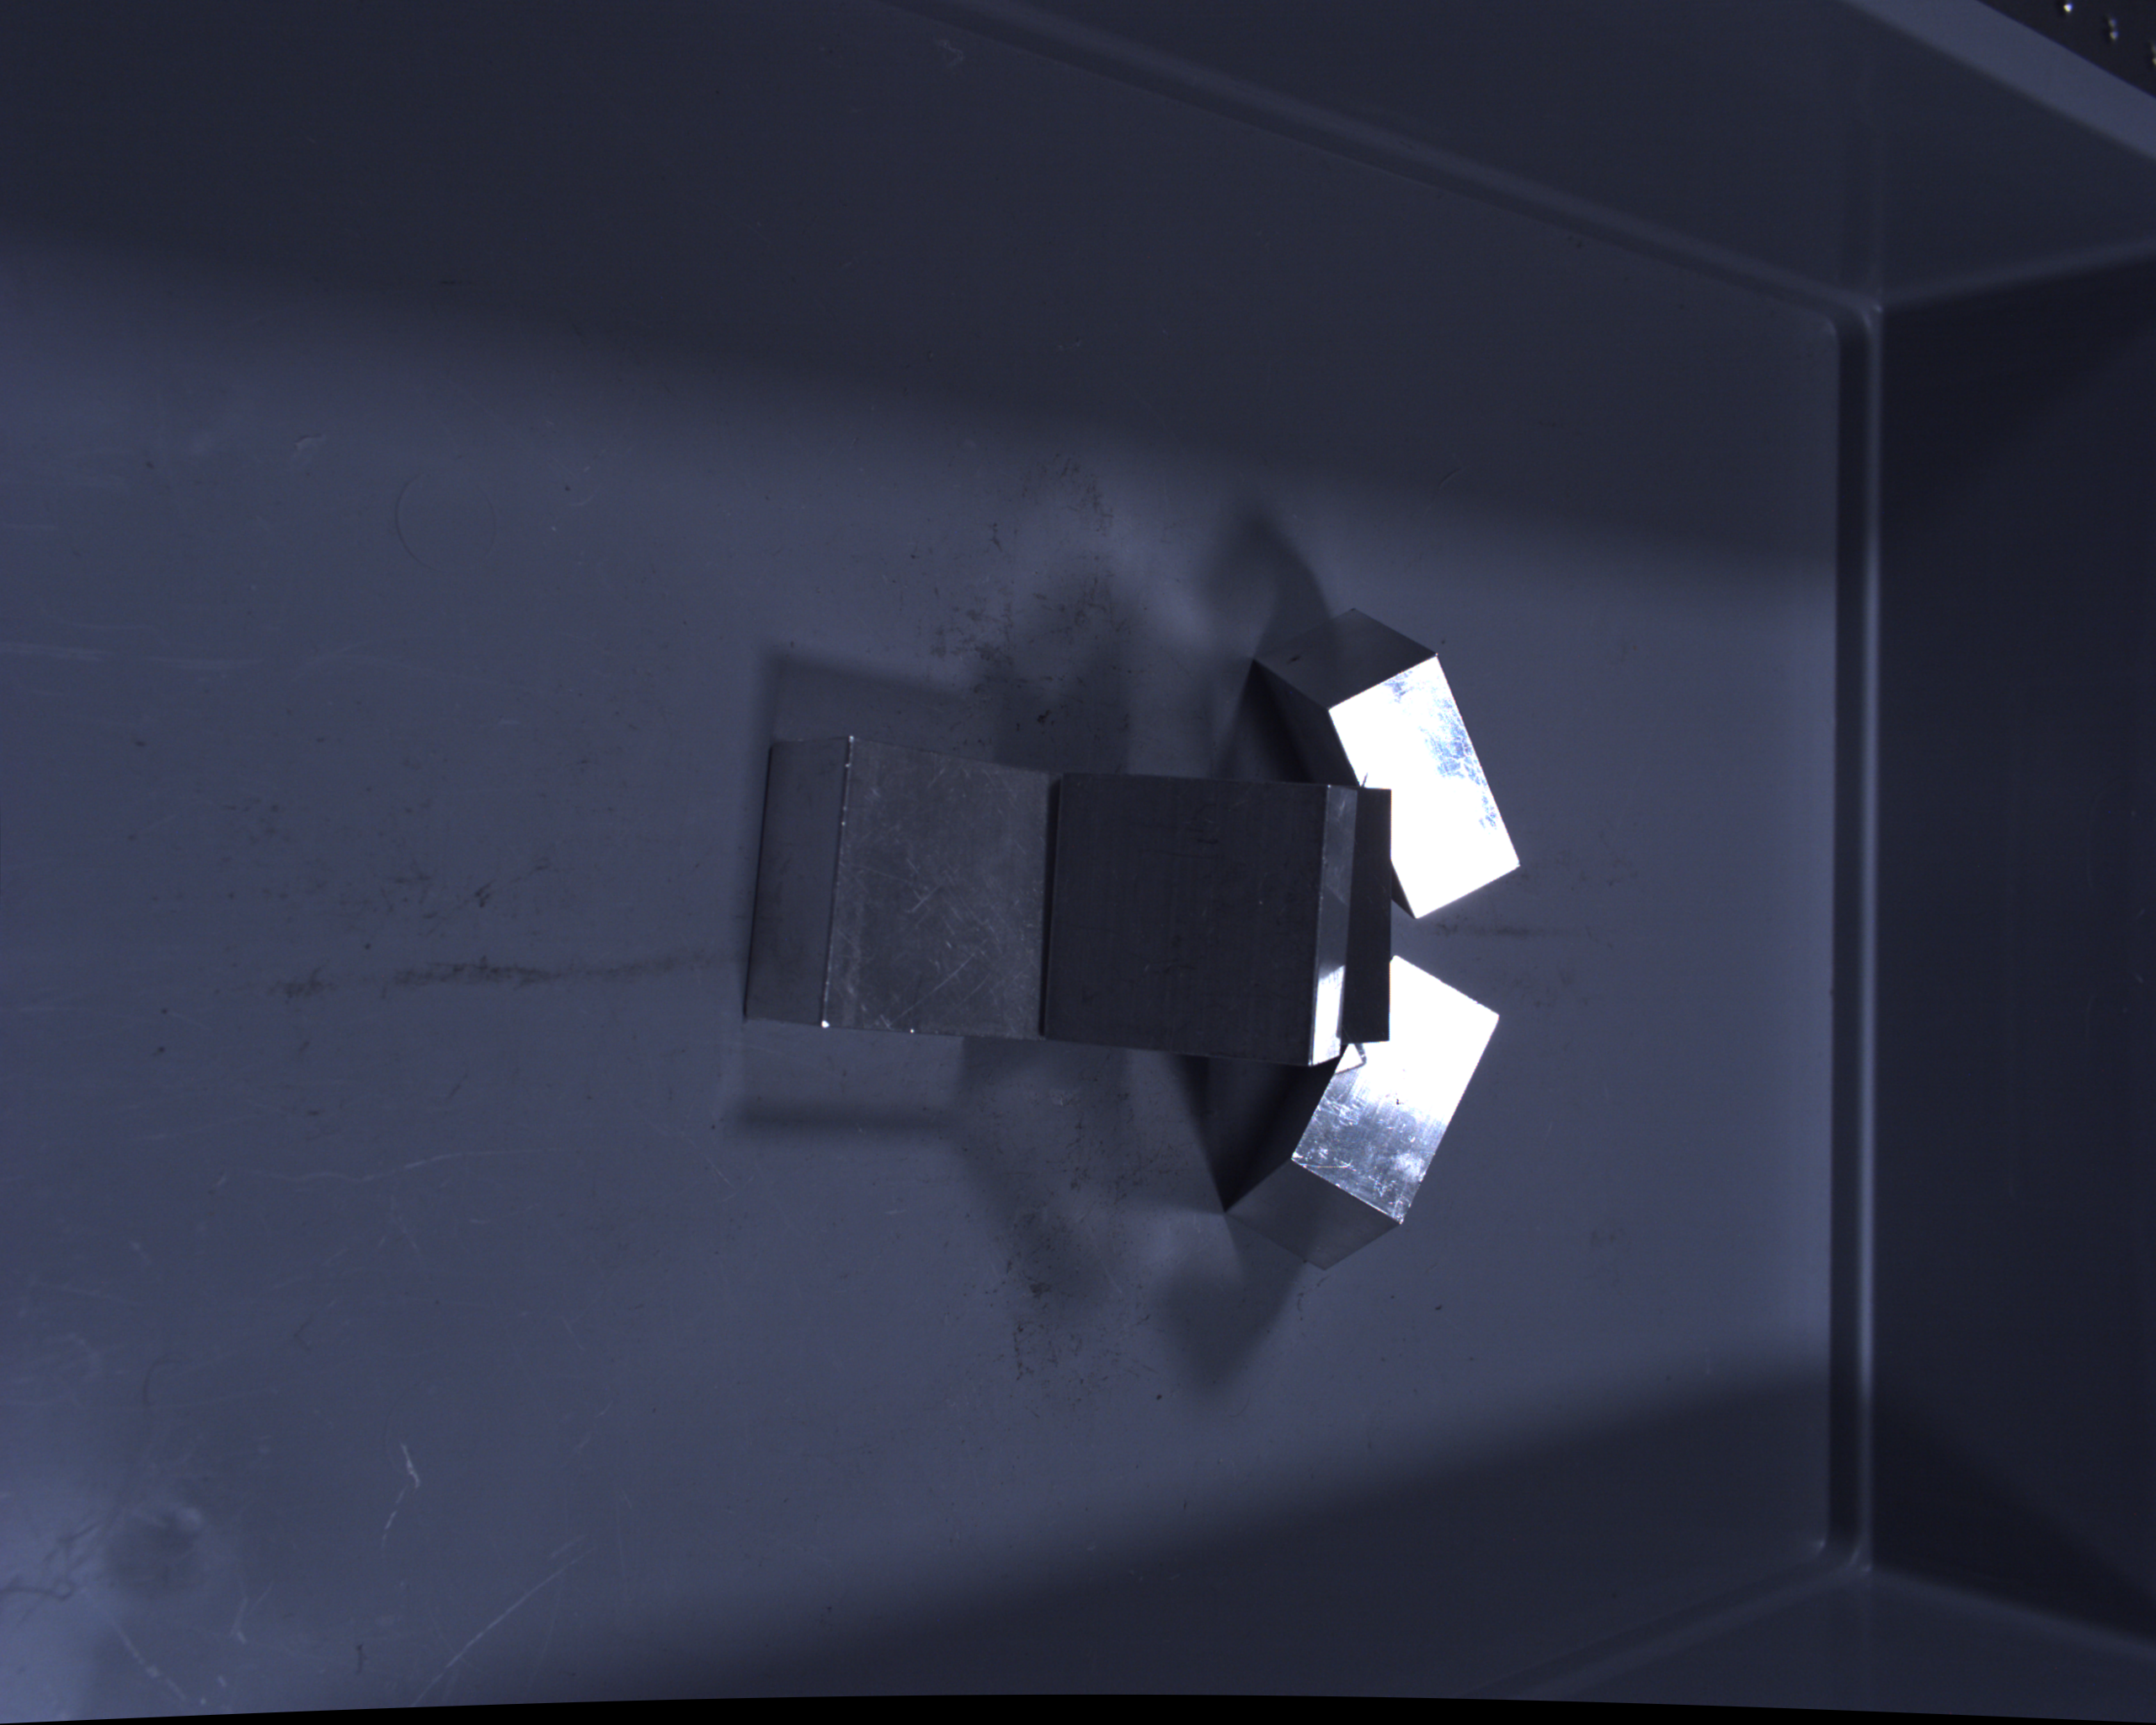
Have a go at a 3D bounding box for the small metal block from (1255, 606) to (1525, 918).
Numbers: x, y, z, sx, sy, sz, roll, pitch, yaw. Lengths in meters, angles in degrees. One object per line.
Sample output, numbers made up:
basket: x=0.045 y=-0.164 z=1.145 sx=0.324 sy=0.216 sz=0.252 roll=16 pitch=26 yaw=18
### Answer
small metal block: x=0.065 y=-0.023 z=0.442 sx=0.025 sy=0.050 sz=0.050 roll=-27 pitch=111 yaw=-3

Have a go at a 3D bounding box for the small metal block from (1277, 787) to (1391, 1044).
small metal block: x=0.035 y=0.010 z=0.420 sx=0.025 sy=0.050 sz=0.050 roll=1 pitch=89 yaw=-40

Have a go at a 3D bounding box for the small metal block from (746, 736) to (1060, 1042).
small metal block: x=-0.030 y=0.006 z=0.380 sx=0.050 sy=0.025 sz=0.050 roll=8 pitch=85 yaw=-40

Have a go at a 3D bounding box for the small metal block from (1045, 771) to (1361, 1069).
small metal block: x=0.023 y=0.010 z=0.386 sx=0.025 sy=0.050 sz=0.050 roll=2 pitch=92 yaw=-72

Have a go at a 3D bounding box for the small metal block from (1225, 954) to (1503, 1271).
small metal block: x=0.059 y=0.053 z=0.437 sx=0.025 sy=0.050 sz=0.050 roll=31 pitch=66 yaw=1
